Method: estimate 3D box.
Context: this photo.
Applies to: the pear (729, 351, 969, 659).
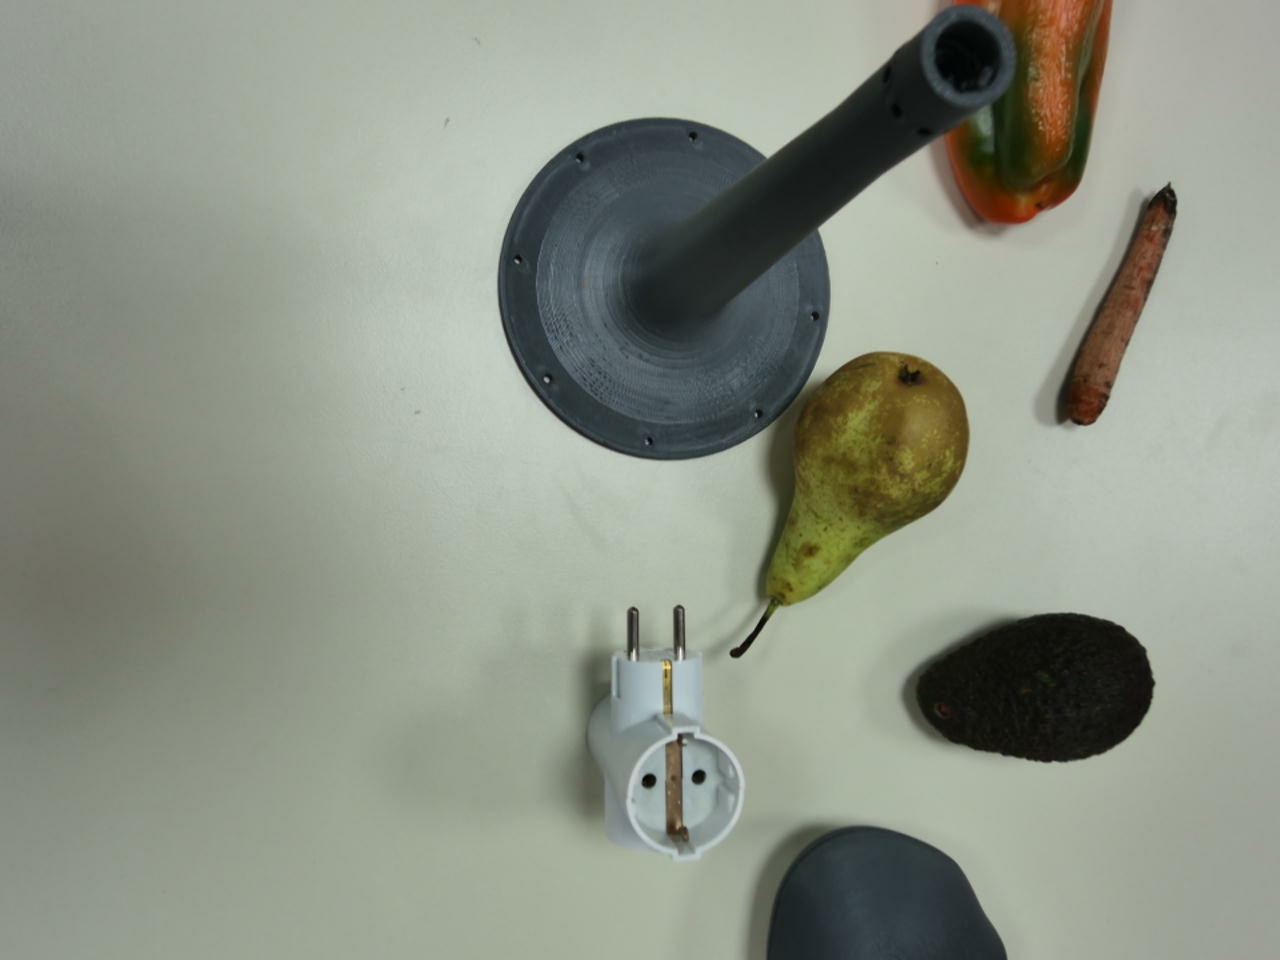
[{"bbox_3d":[0.093,0.016,0.425,0.071,0.075,0.144,17,87,-11],"label":"pear"}]
